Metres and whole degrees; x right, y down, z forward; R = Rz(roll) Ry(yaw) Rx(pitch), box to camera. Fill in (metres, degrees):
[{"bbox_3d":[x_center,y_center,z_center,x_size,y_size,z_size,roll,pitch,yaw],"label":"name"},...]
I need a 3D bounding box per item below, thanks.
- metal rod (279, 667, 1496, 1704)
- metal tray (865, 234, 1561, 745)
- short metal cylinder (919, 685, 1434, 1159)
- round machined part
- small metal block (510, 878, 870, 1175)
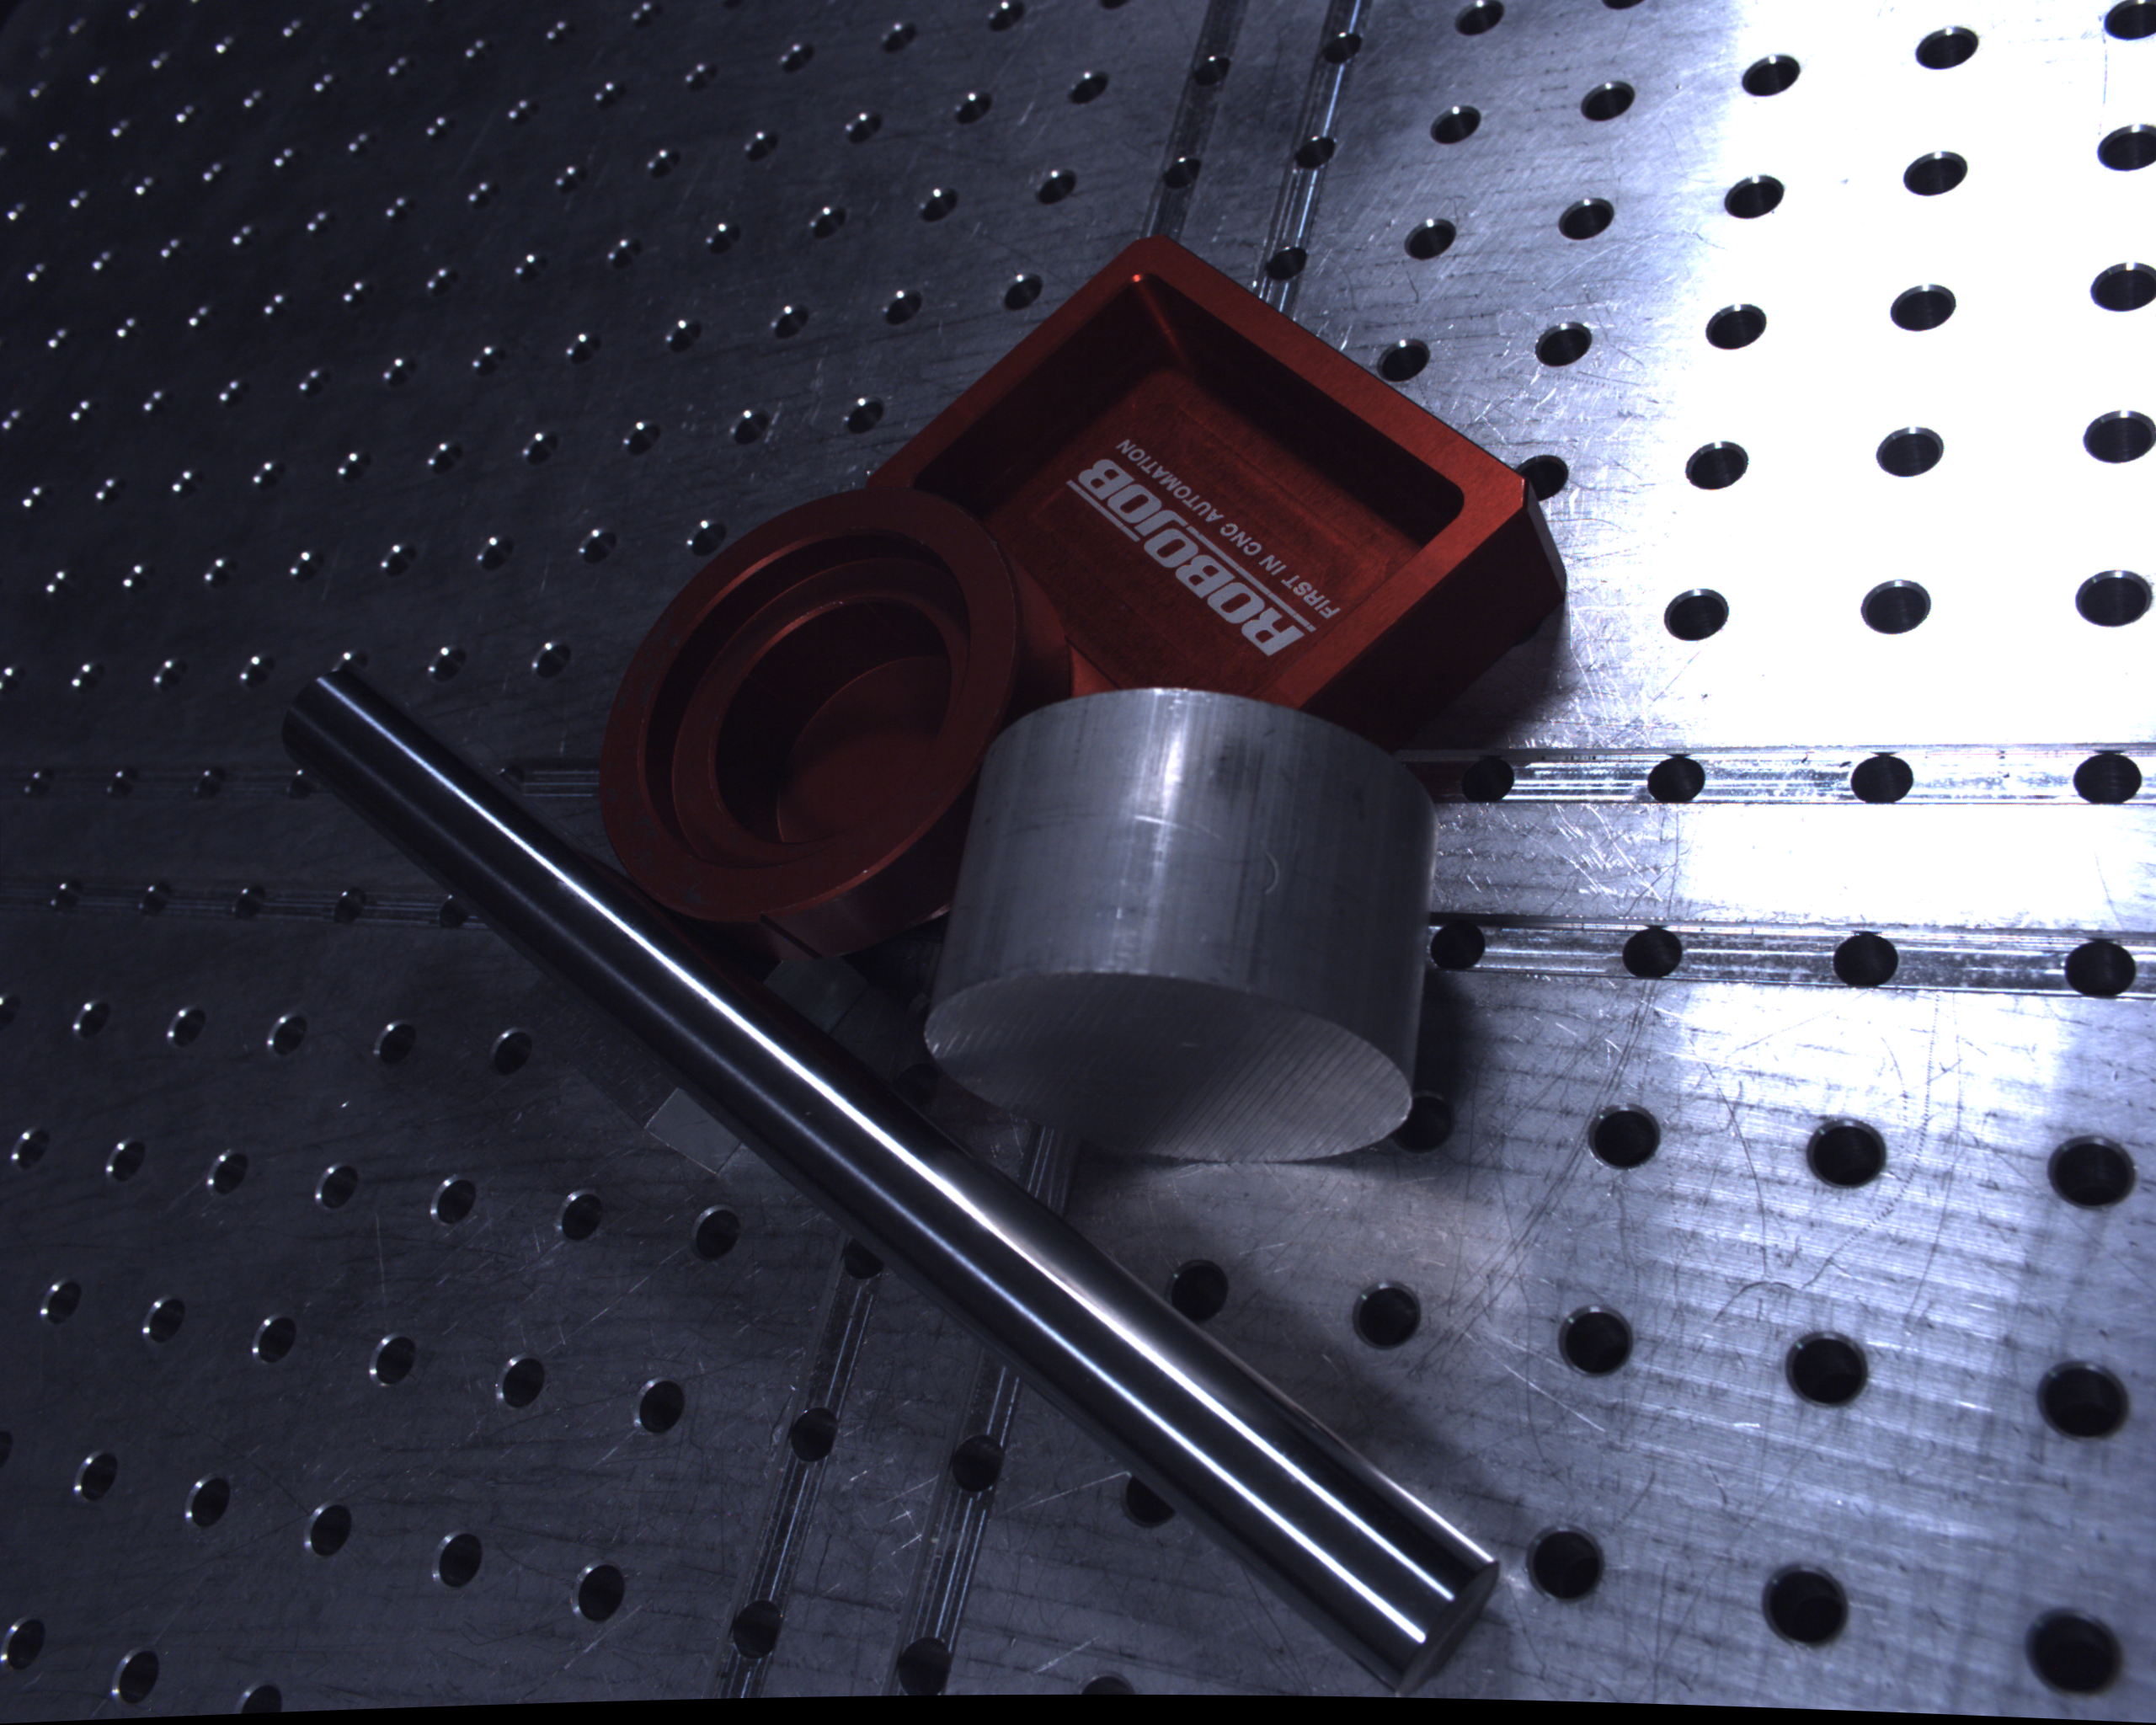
[{"bbox_3d":[-0.054,0.042,0.383,0.300,0.025,0.025,34,81,29],"label":"metal rod"},{"bbox_3d":[0.023,-0.068,0.432,0.090,0.030,0.130,-42,51,-2],"label":"metal tray"},{"bbox_3d":[0.018,0.013,0.353,0.080,0.080,0.050,-4,60,26],"label":"short metal cylinder"},{"bbox_3d":[-0.046,-0.025,0.425,0.098,0.042,0.098,-14,55,22],"label":"round machined part"},{"bbox_3d":[-0.080,0.028,0.432,0.050,0.025,0.050,32,79,37],"label":"small metal block"}]
